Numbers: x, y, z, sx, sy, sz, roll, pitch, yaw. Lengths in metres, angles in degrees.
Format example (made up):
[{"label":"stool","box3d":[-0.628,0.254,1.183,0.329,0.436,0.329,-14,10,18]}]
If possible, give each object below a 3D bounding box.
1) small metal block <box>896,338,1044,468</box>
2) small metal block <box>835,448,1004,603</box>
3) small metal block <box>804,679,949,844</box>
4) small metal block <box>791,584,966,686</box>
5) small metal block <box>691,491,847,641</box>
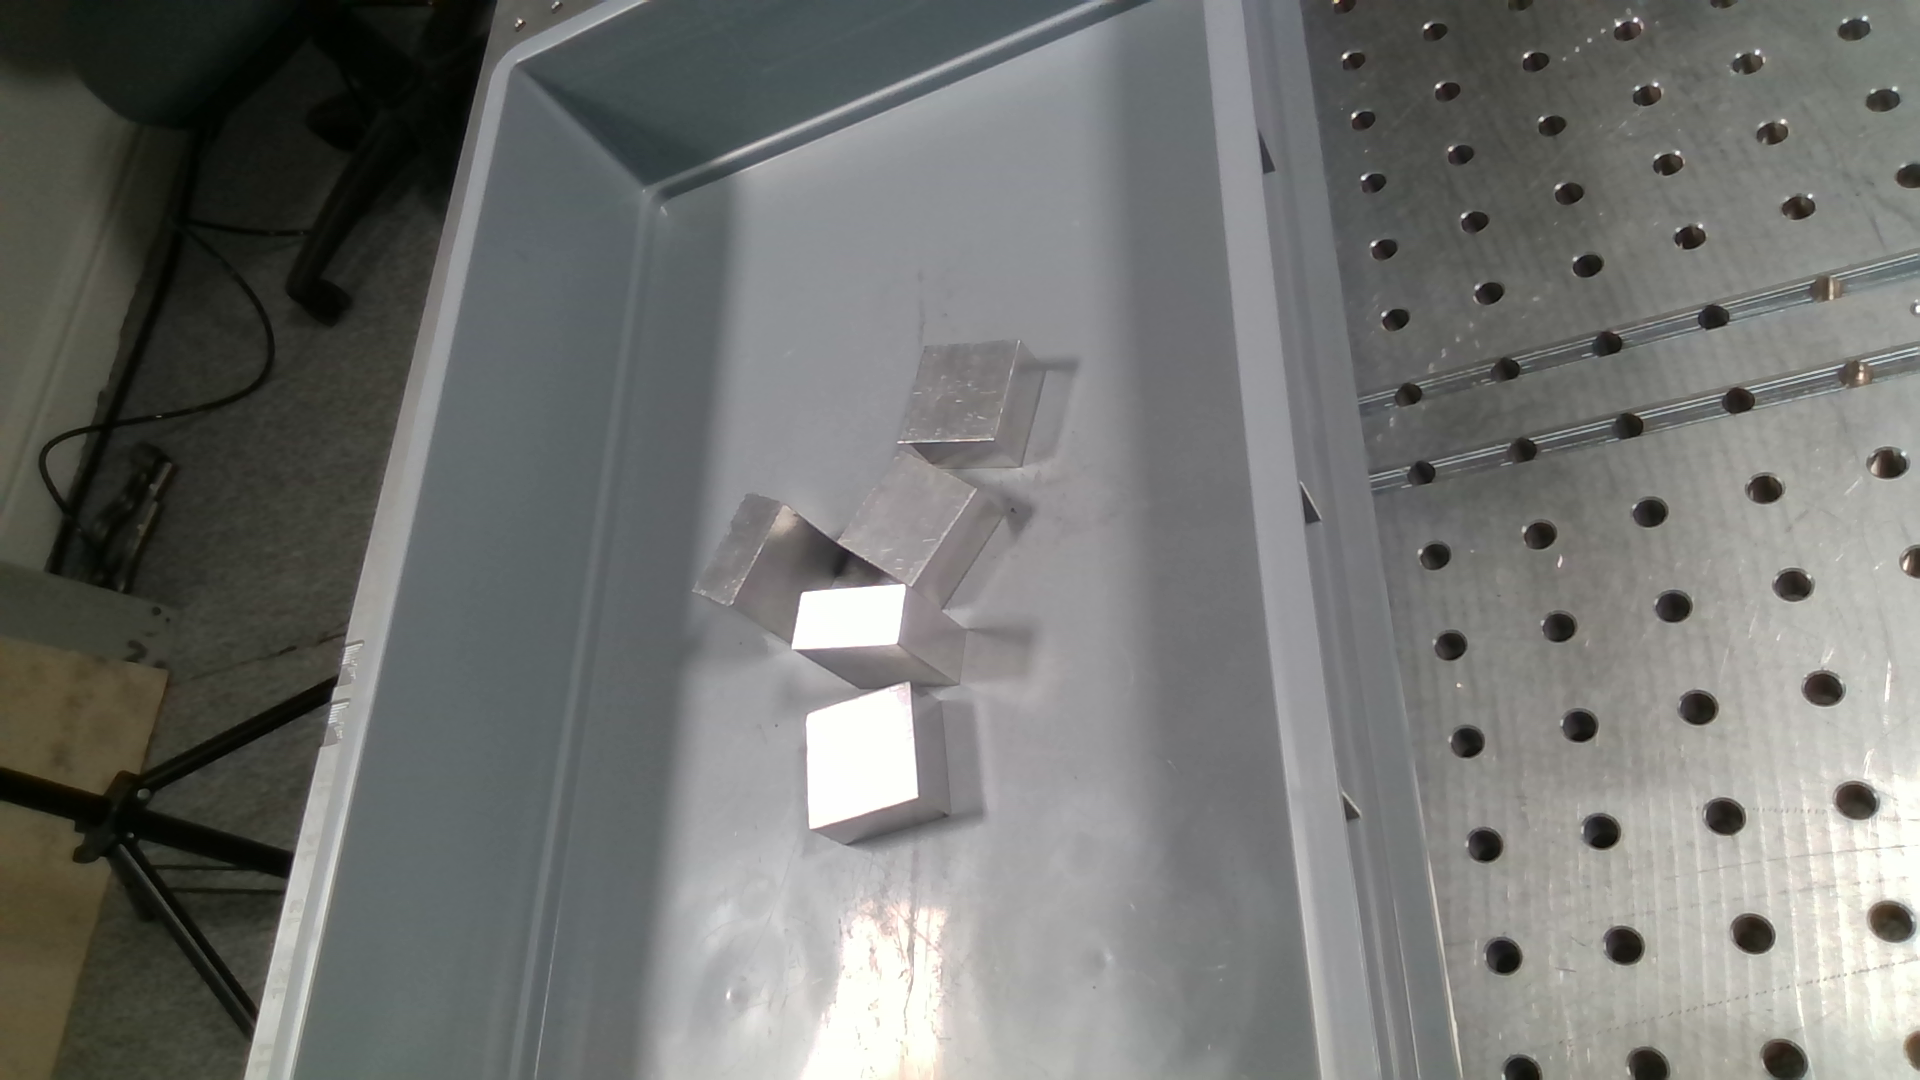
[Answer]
[{"label":"small metal block","box3d":[0.005,-0.060,0.612,0.050,0.025,0.050,1,66,32]},{"label":"small metal block","box3d":[-0.018,-0.005,0.596,0.050,0.025,0.050,29,82,39]},{"label":"small metal block","box3d":[-0.034,0.090,0.557,0.050,0.025,0.050,-20,57,22]},{"label":"small metal block","box3d":[-0.033,0.041,0.566,0.050,0.050,0.025,-5,63,29]},{"label":"small metal block","box3d":[-0.083,0.014,0.611,0.025,0.050,0.050,18,77,38]}]
